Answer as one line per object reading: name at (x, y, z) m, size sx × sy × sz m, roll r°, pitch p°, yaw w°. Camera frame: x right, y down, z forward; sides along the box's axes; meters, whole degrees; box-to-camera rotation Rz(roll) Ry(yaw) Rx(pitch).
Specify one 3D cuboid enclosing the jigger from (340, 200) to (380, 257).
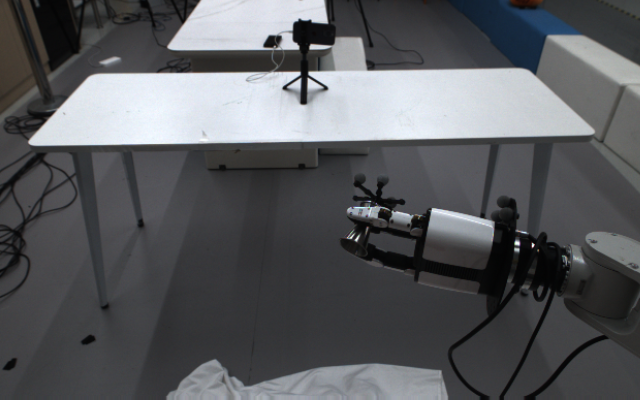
jigger at (0.060, 0.036, 0.677) m, size 0.043 × 0.043 × 0.071 m, roll 19°, pitch 61°, yaw 23°
